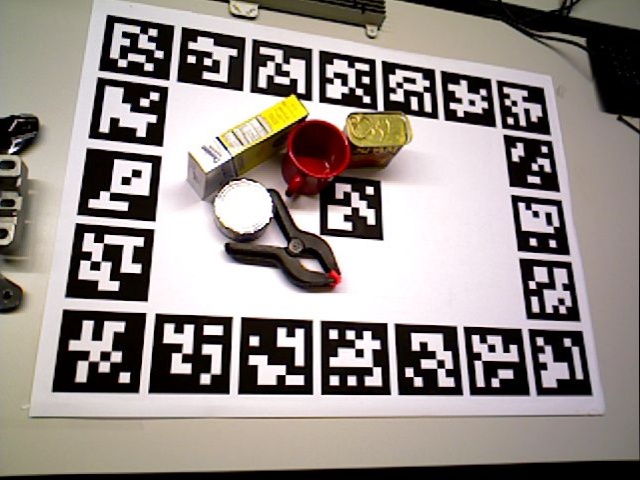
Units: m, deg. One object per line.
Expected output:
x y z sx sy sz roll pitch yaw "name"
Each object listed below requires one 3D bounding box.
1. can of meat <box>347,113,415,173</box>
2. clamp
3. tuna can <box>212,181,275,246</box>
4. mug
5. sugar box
0.084 -0.144 0.819 0.100 0.085 0.057 -4 72 -18 "can of meat"
-0.034 0.024 0.762 0.165 0.037 0.119 39 63 -6 "clamp"
-0.107 -0.036 0.754 0.085 0.034 0.085 4 74 -14 "tuna can"
-0.010 -0.106 0.774 0.093 0.083 0.115 28 69 -6 "mug"
-0.099 -0.126 0.758 0.173 0.094 0.045 -35 83 -24 "sugar box"
